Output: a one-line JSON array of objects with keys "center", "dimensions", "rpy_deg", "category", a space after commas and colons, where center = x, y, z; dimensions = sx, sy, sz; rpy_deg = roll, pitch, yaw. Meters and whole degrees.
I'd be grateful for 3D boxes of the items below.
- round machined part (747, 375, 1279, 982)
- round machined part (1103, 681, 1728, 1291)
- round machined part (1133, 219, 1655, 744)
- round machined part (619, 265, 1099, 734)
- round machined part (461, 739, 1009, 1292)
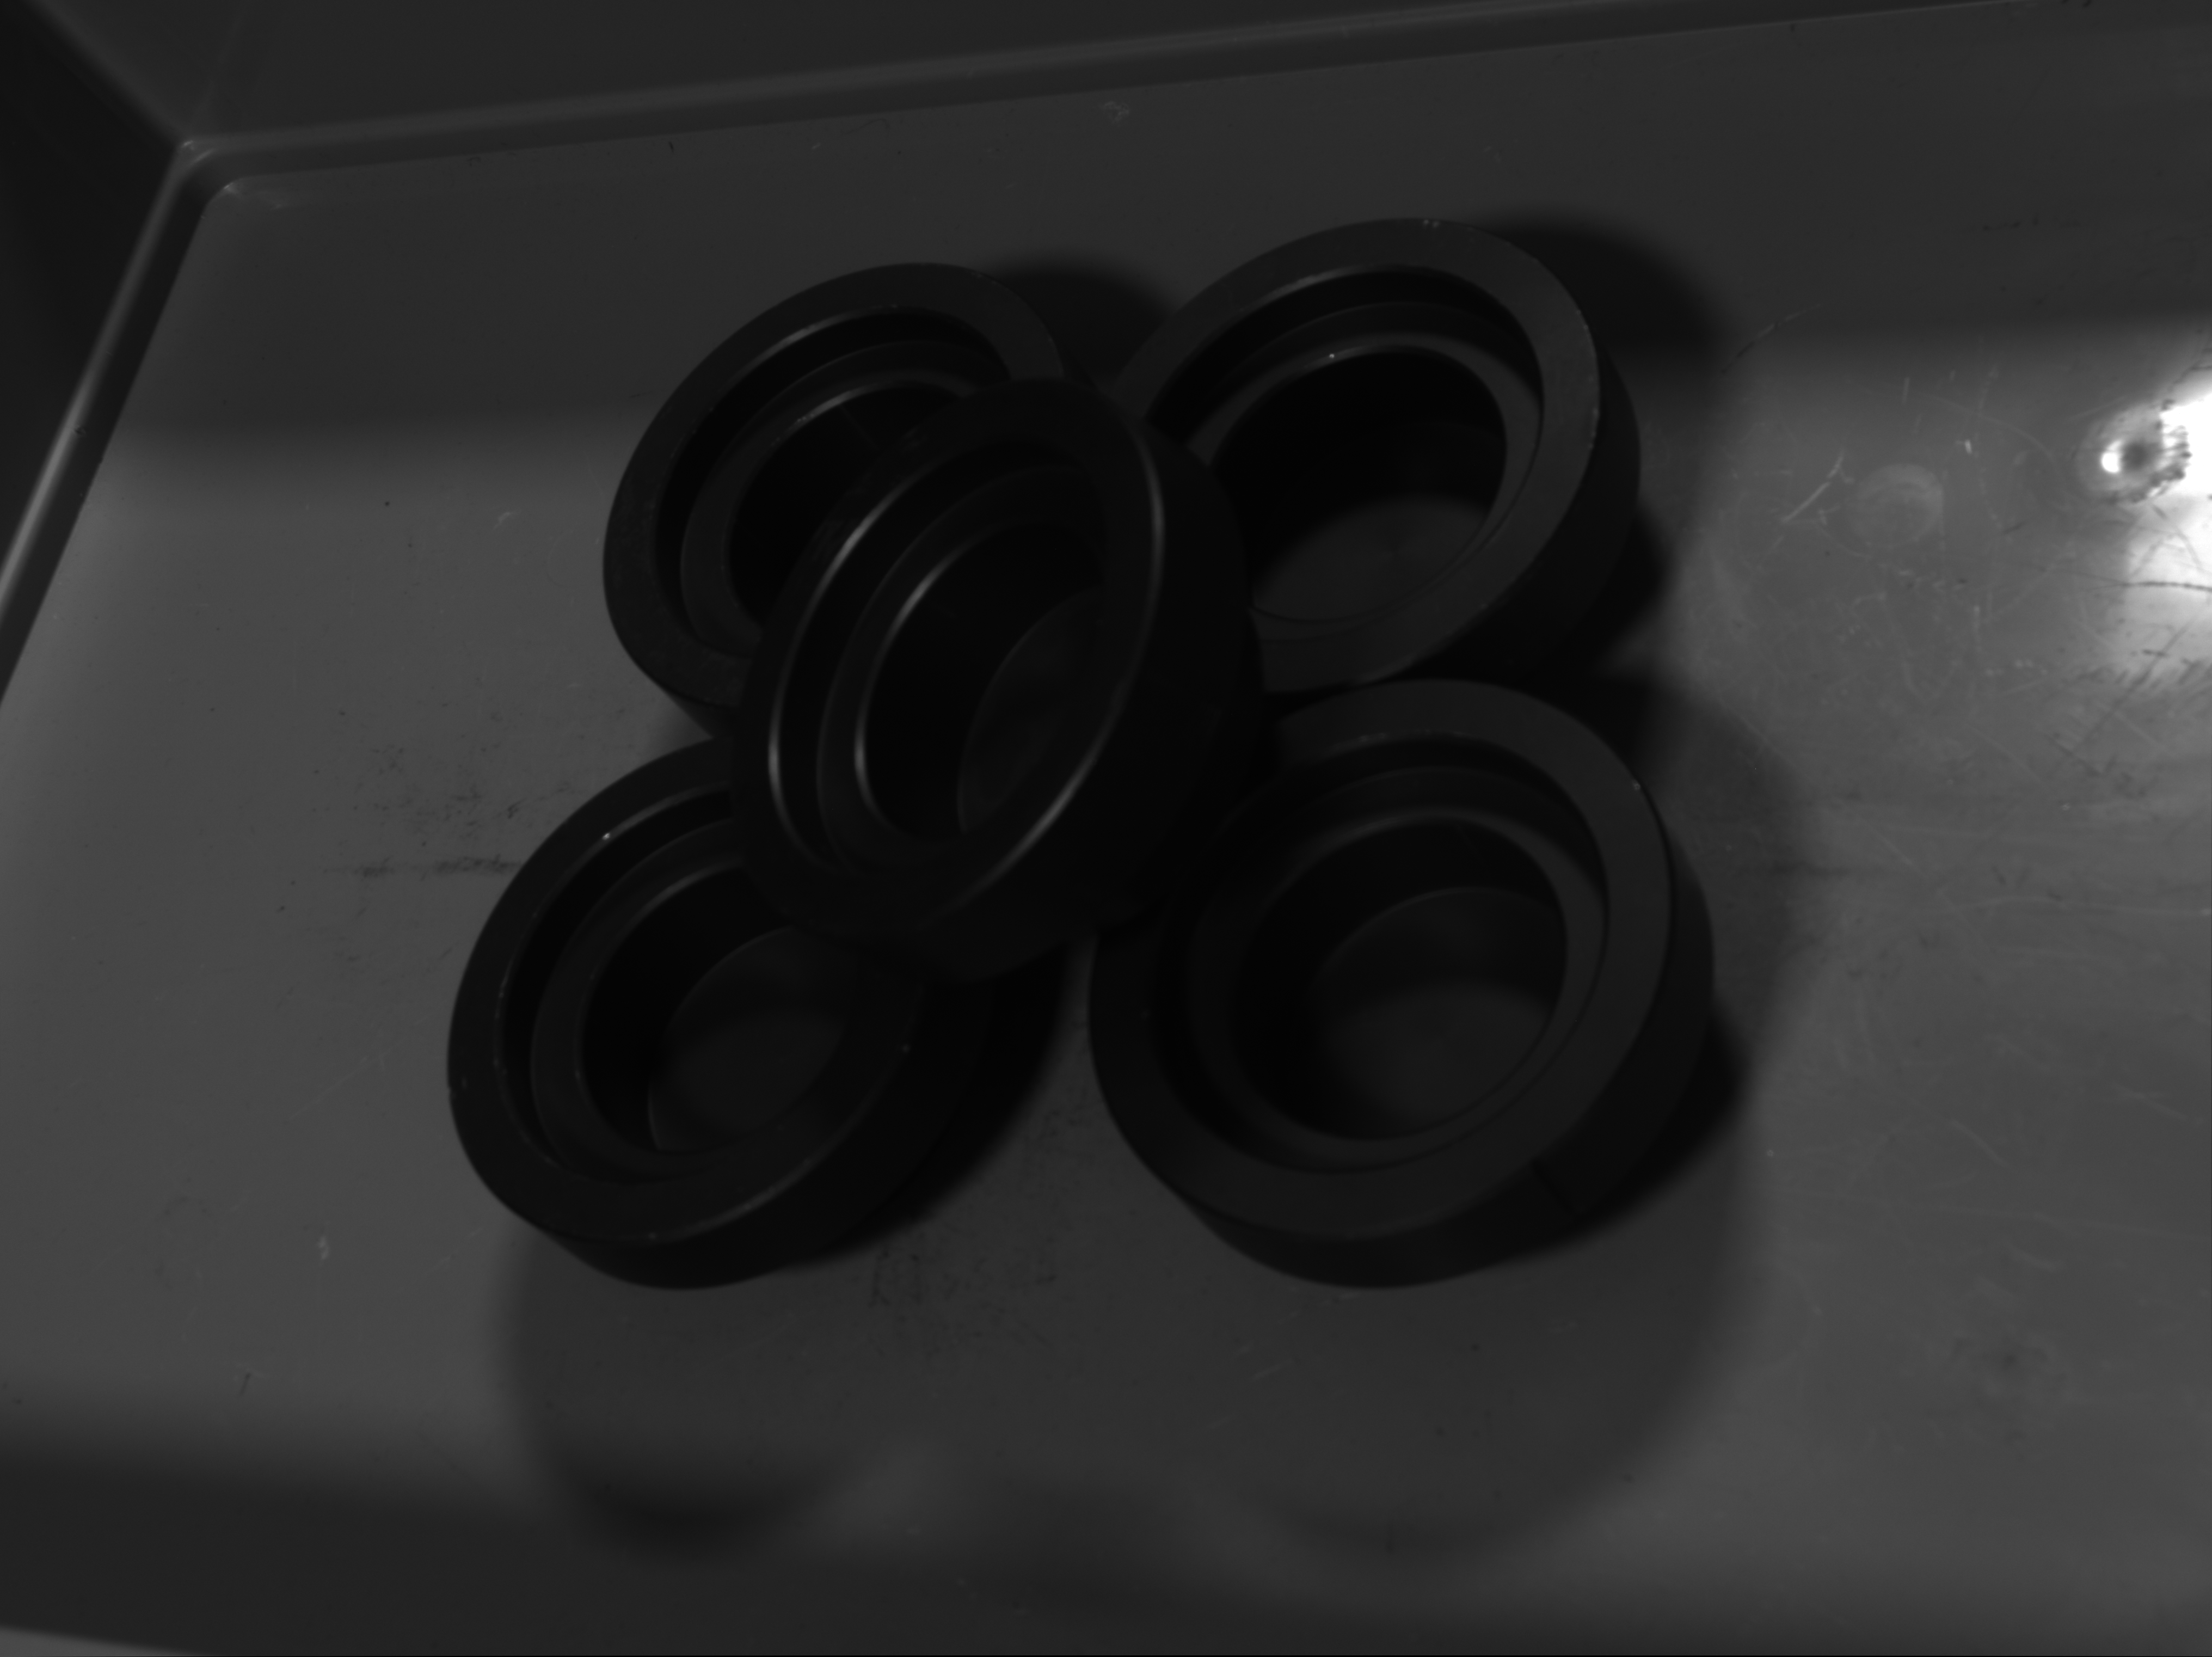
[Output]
[{"center": [-0.011, -0.021, 0.595], "dimensions": [0.098, 0.042, 0.098], "rpy_deg": [-26, 50, 36], "category": "round machined part"}, {"center": [0.052, 0.029, 0.586], "dimensions": [0.098, 0.042, 0.098], "rpy_deg": [-13, 56, 21], "category": "round machined part"}, {"center": [0.049, -0.055, 0.639], "dimensions": [0.098, 0.042, 0.098], "rpy_deg": [-13, 56, 21], "category": "round machined part"}, {"center": [-0.039, -0.054, 0.686], "dimensions": [0.098, 0.042, 0.098], "rpy_deg": [-13, 56, 21], "category": "round machined part"}, {"center": [-0.060, 0.036, 0.642], "dimensions": [0.098, 0.042, 0.098], "rpy_deg": [-13, 56, 21], "category": "round machined part"}]
